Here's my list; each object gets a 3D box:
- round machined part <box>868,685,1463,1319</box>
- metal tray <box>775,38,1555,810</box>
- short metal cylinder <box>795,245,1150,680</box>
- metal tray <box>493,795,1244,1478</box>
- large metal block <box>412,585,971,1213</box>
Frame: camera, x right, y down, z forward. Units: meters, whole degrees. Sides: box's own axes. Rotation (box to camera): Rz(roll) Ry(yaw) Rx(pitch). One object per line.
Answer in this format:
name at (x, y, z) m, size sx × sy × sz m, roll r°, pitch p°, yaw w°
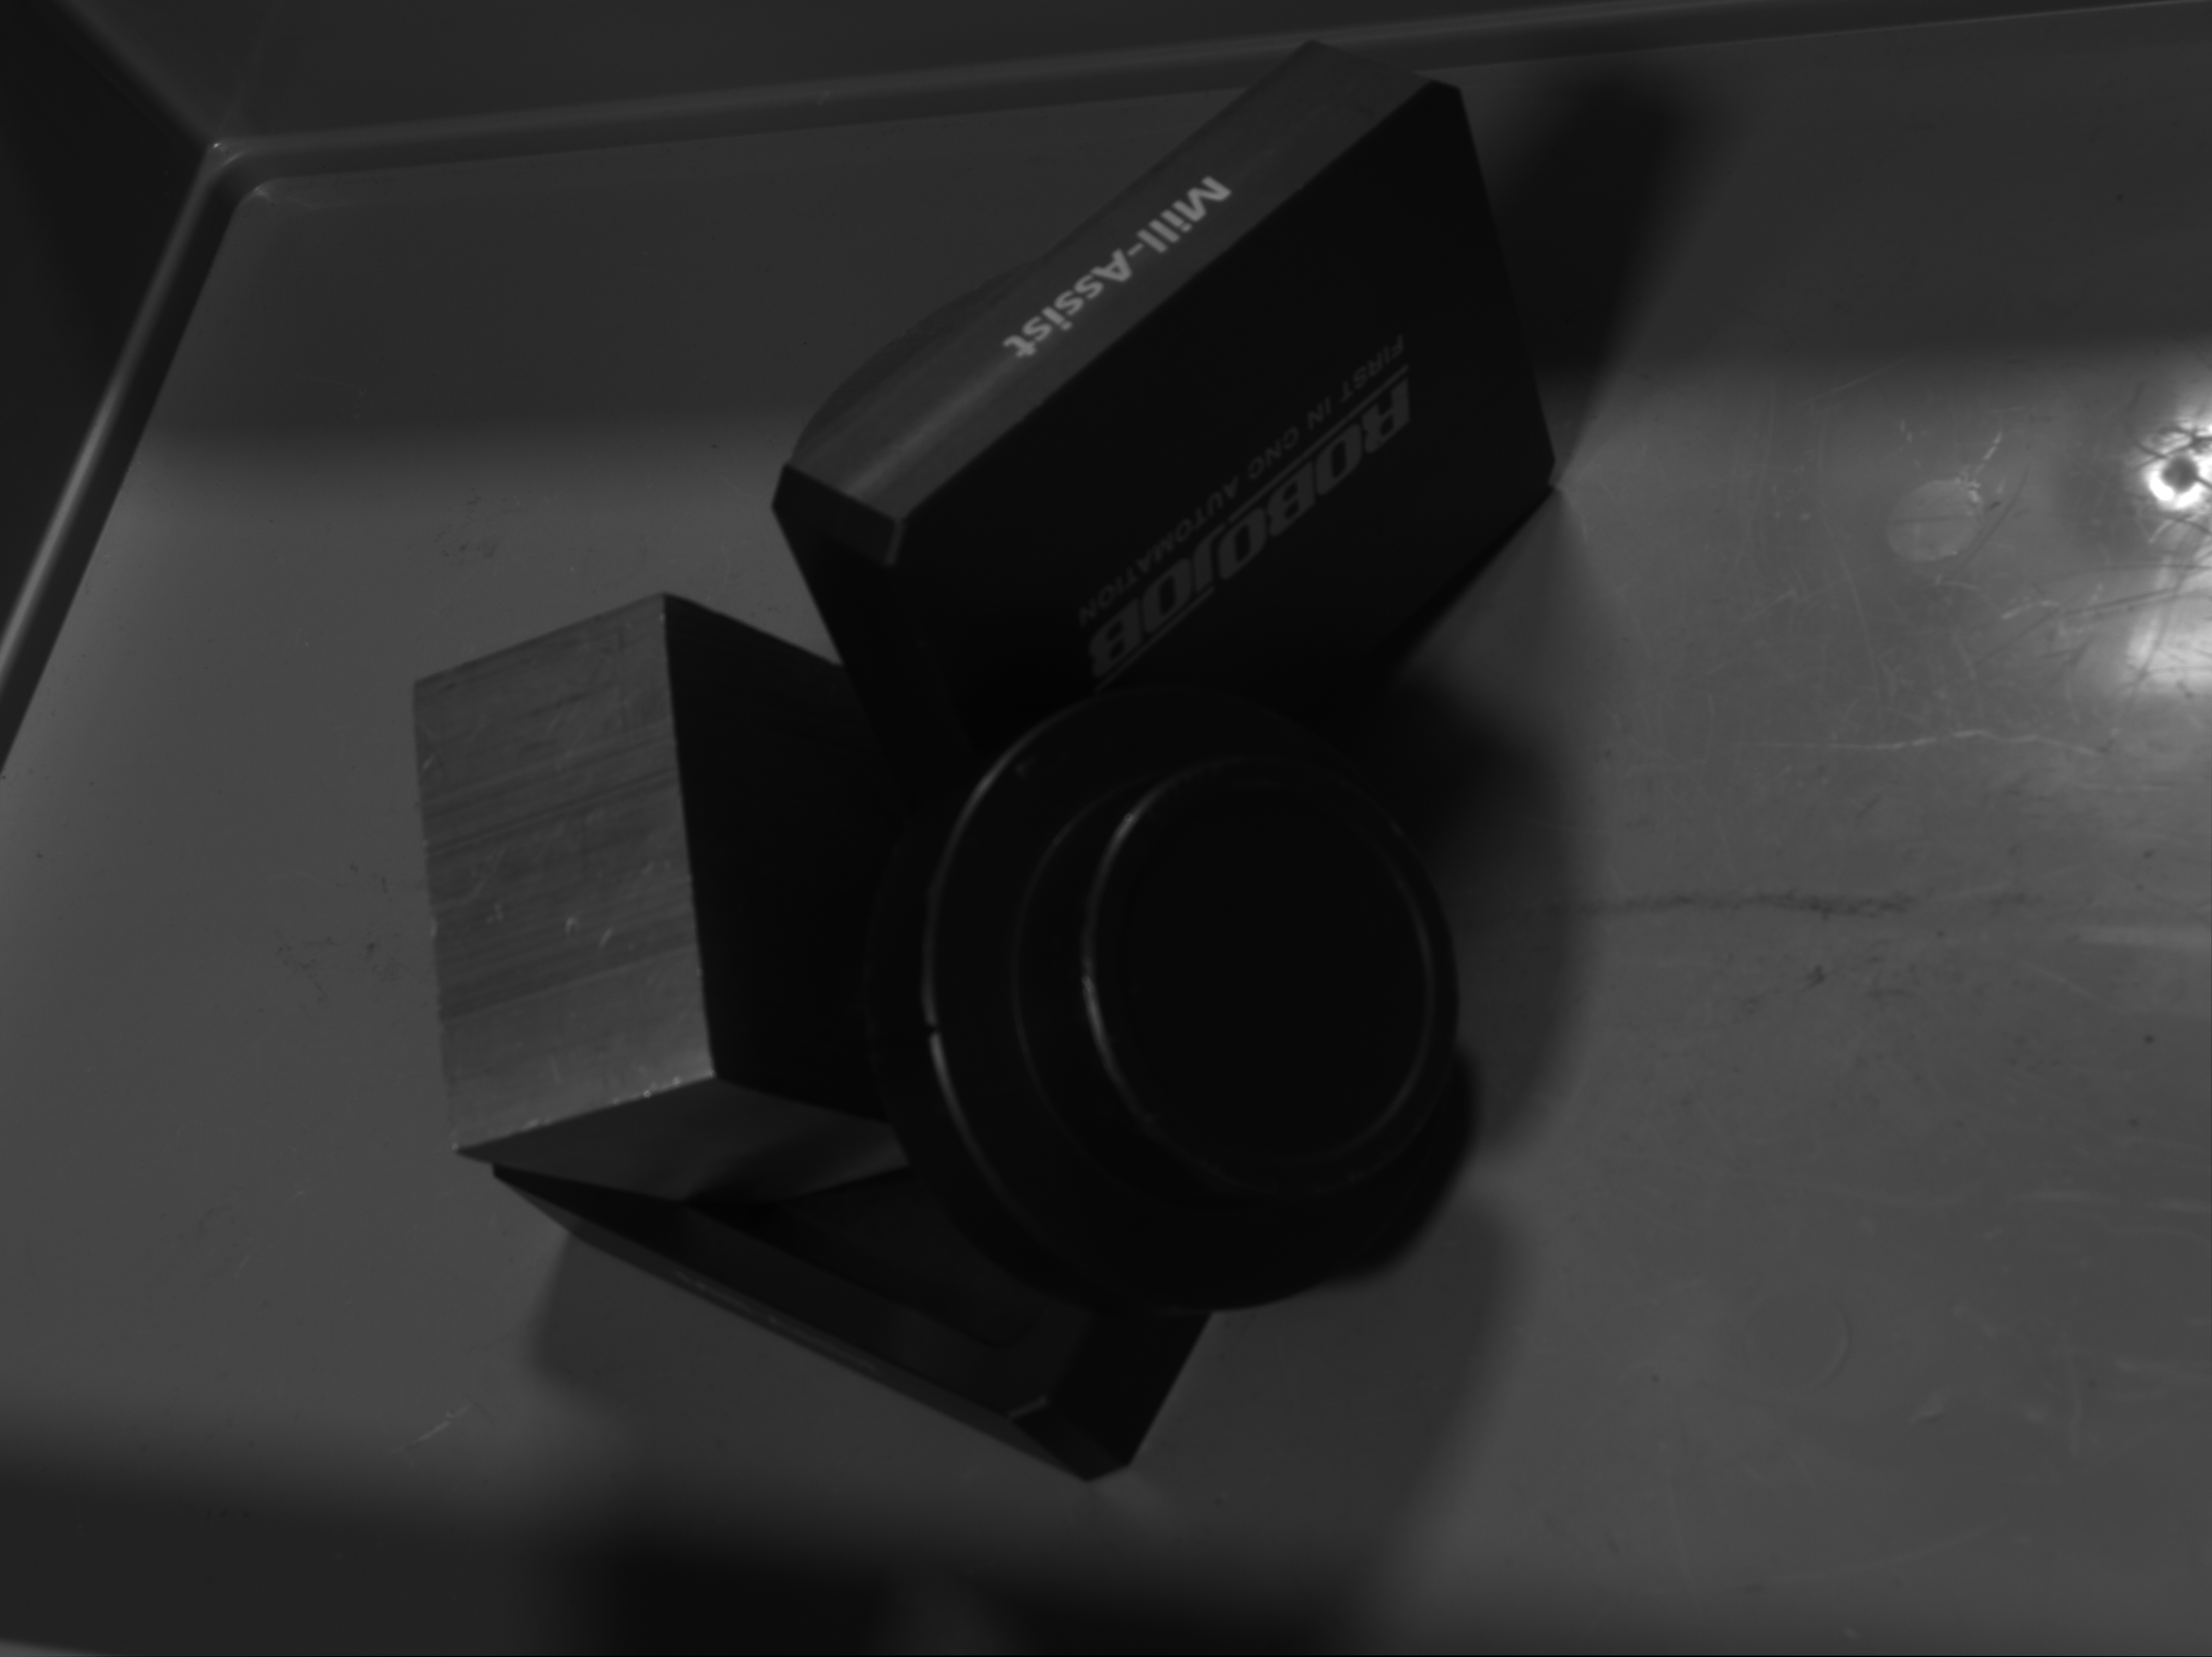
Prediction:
round machined part at (0.016, 0.026, 0.567) m, size 0.042 × 0.098 × 0.098 m, roll -17°, pitch 48°, yaw 57°
metal tray at (0.014, -0.058, 0.609) m, size 0.130 × 0.090 × 0.030 m, roll -42°, pitch 46°, yaw -21°
short metal cylinder at (-0.009, -0.062, 0.651) m, size 0.080 × 0.050 × 0.080 m, roll -24°, pitch 27°, yaw 14°
metal tray at (-0.034, 0.045, 0.629) m, size 0.130 × 0.030 × 0.090 m, roll 19°, pitch 71°, yaw 36°
large metal block at (-0.065, 0.015, 0.604) m, size 0.050 × 0.080 × 0.080 m, roll -18°, pitch 70°, yaw 26°
